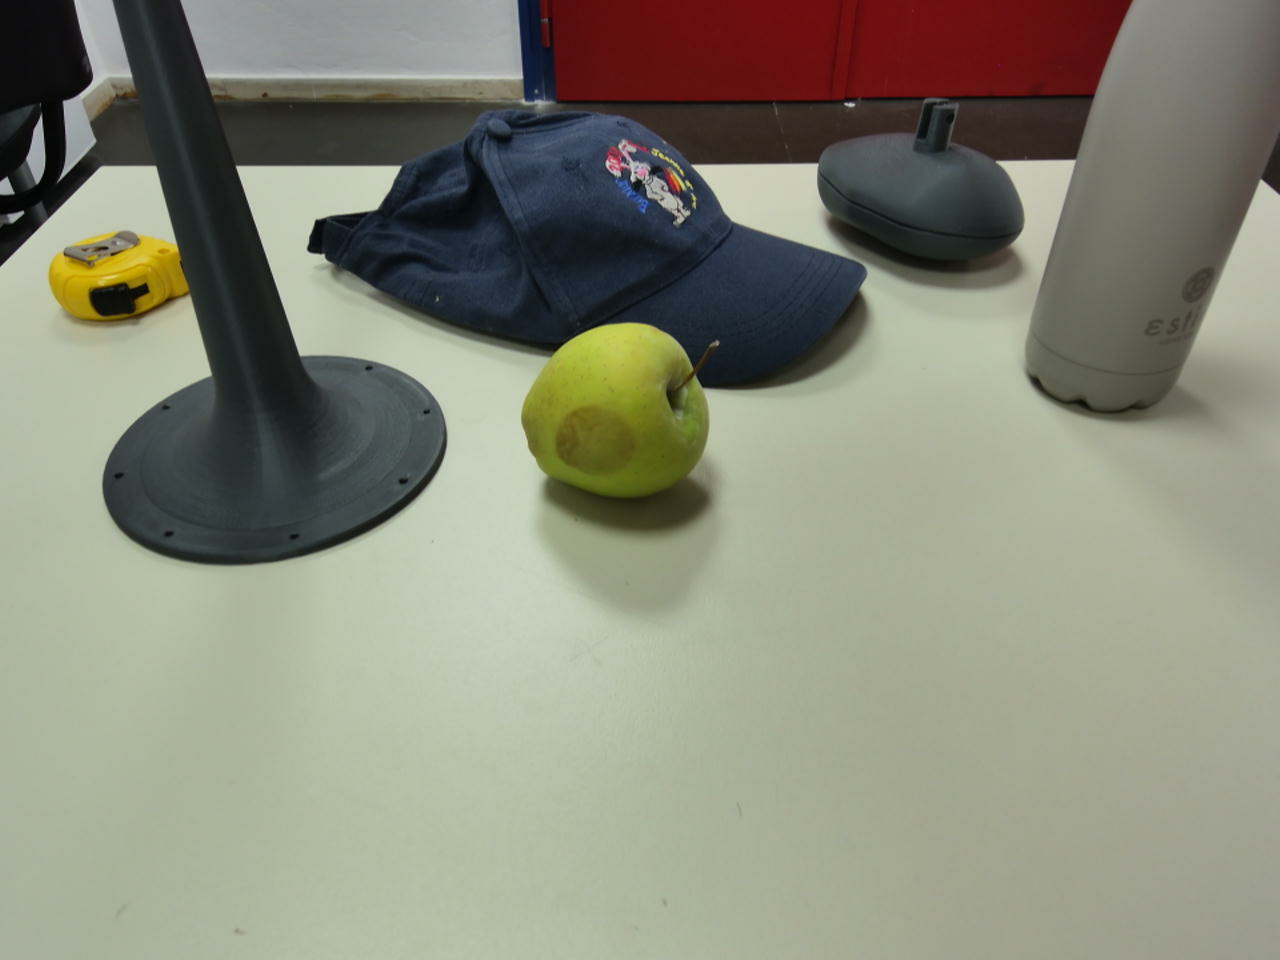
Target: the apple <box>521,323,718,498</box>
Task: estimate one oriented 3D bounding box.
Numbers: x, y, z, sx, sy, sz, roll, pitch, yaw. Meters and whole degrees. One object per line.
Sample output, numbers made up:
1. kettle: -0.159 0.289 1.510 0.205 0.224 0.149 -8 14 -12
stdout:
1. apple: -0.009 -0.030 0.422 0.077 0.075 0.072 32 48 33
